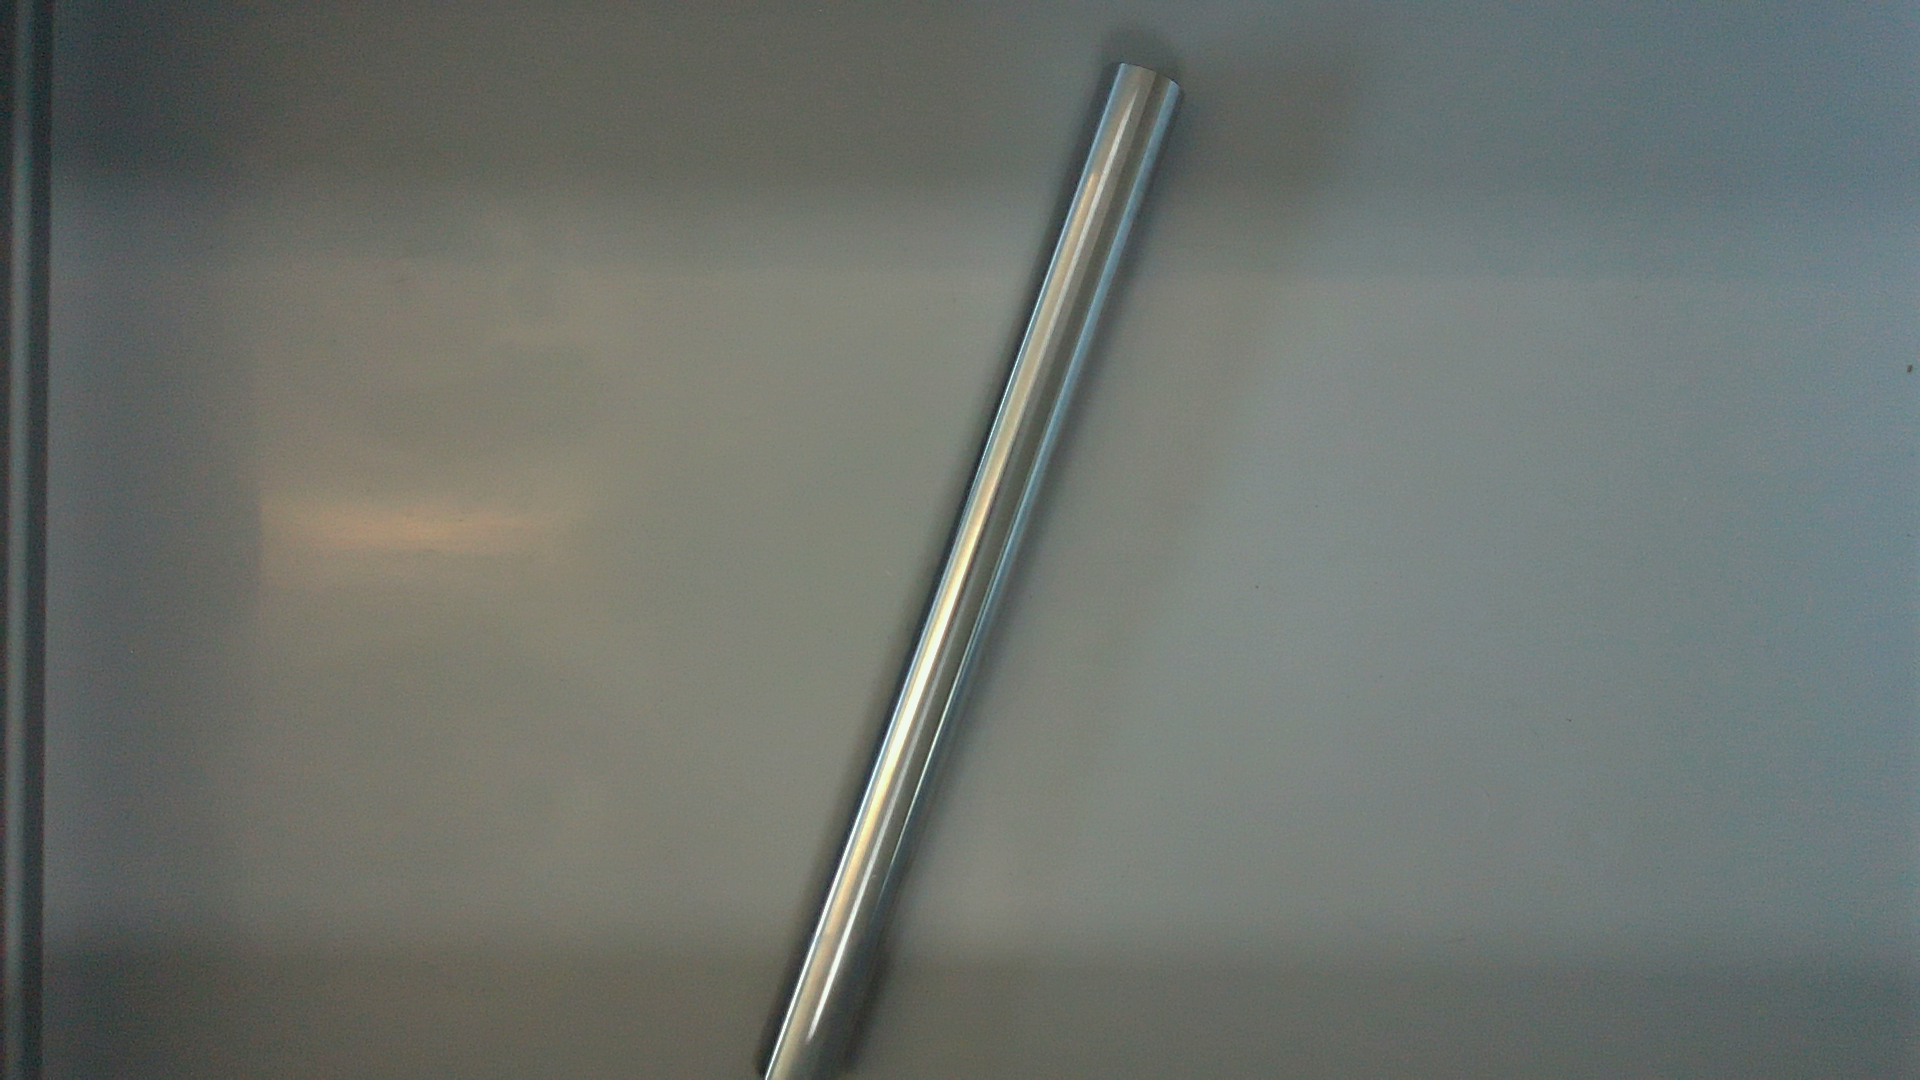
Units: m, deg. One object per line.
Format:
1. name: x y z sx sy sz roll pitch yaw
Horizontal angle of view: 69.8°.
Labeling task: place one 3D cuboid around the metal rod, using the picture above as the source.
1. metal rod: 0.001 0.011 0.393 0.025 0.025 0.300 20 90 0
